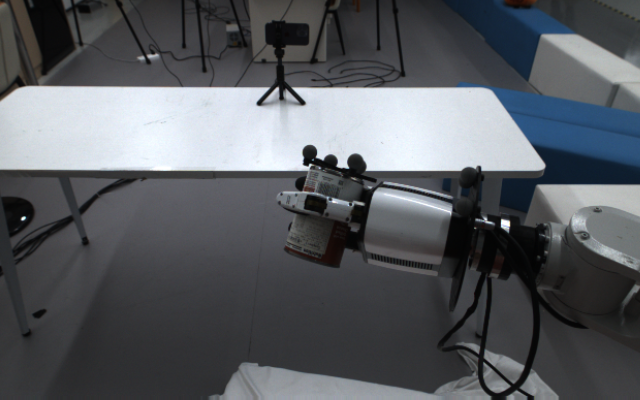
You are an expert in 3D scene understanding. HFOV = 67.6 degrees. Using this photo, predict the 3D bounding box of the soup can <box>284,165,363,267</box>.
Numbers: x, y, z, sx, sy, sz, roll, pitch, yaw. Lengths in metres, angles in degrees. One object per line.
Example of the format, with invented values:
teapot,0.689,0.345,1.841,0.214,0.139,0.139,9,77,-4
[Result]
soup can,0.007,0.019,0.554,0.067,0.101,0.067,17,-1,0
